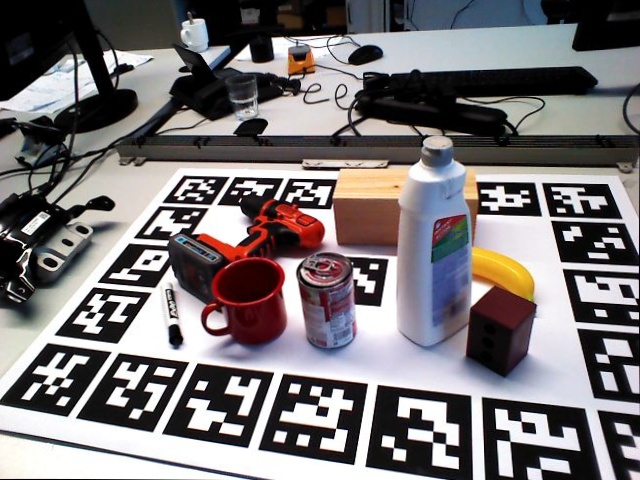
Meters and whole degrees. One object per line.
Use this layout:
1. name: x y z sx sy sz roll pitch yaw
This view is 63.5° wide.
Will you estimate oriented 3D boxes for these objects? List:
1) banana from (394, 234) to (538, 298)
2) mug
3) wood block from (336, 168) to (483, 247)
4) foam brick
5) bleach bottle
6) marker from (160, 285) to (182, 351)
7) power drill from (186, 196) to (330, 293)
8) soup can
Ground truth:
1. banana: 0.200 0.023 0.707 0.198 0.039 0.074 14 55 25
2. mug: -0.093 0.080 0.653 0.116 0.082 0.093 -29 43 -21
3. wood block: 0.137 -0.050 0.782 0.207 0.091 0.089 1 38 13
4. foam brick: 0.210 0.101 0.572 0.051 0.078 0.053 -31 40 -32
5. bleach bottle: 0.133 0.000 0.575 0.068 0.251 0.102 23 45 36
6. marker: -0.202 0.105 0.699 0.019 0.020 0.121 -18 38 -9
7. power drill: -0.106 0.006 0.788 0.185 0.057 0.186 26 47 33
8. soup can: 0.012 0.069 0.622 0.068 0.102 0.067 -4 33 2
